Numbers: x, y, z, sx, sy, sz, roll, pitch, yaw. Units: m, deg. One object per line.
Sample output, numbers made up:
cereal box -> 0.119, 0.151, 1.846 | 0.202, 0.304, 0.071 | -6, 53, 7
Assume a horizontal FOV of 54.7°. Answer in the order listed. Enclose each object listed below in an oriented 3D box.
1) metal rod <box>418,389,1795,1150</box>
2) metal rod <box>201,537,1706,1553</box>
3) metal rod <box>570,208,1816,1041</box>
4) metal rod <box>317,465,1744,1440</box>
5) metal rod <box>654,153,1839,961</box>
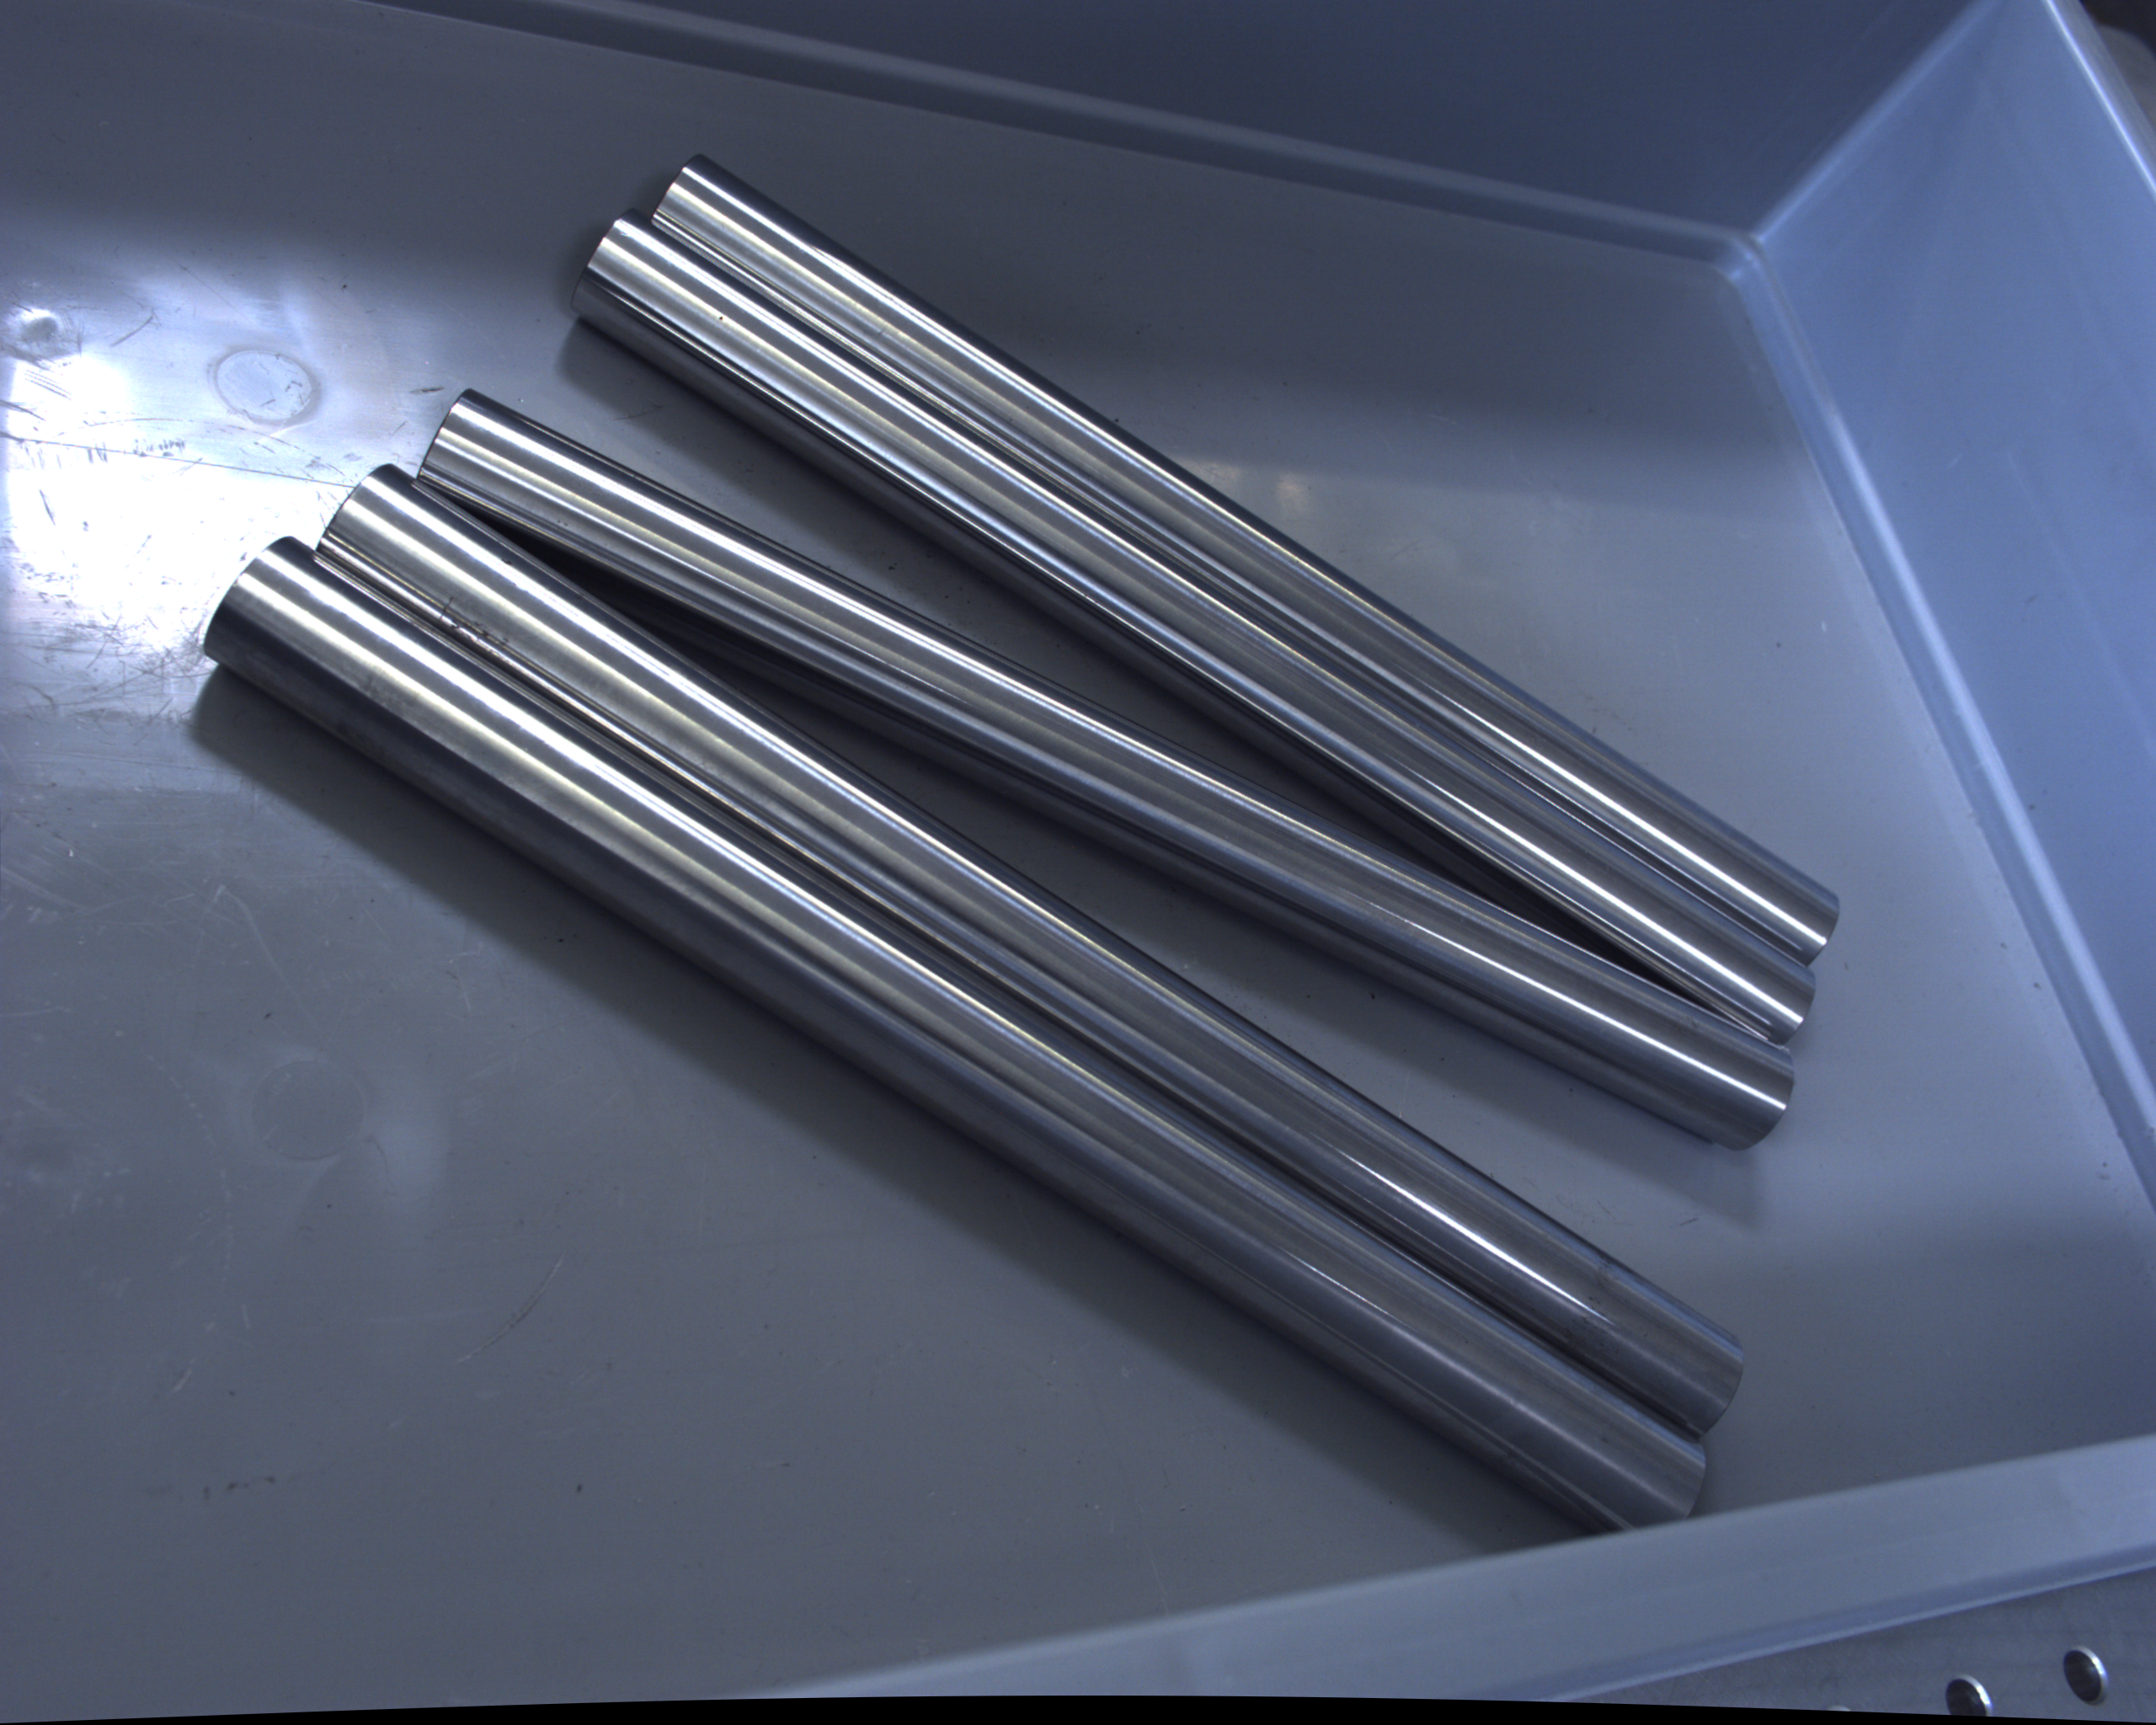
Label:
metal rod -> 0.014, -0.013, 0.419 | 0.301, 0.025, 0.025 | 26, 53, -12
metal rod -> -0.016, 0.036, 0.373 | 0.301, 0.025, 0.025 | 33, 51, -7
metal rod -> 0.030, -0.045, 0.447 | 0.301, 0.025, 0.025 | 32, 52, -8
metal rod -> -0.004, 0.021, 0.389 | 0.301, 0.025, 0.025 | 33, 51, -7
metal rod -> 0.041, -0.061, 0.463 | 0.301, 0.025, 0.025 | 32, 52, -8
